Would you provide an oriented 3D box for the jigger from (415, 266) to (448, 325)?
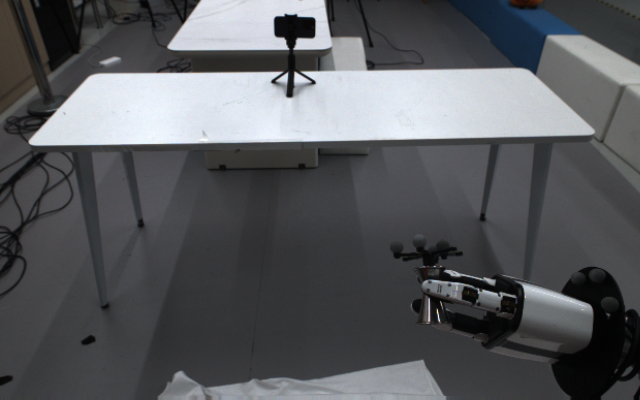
[{"bbox_3d":[0.138,0.115,0.594,0.043,0.043,0.071,0,75,-3],"label":"jigger"}]
